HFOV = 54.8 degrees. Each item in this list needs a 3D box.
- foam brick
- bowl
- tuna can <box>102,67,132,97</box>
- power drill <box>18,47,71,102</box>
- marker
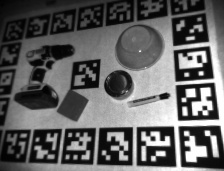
[{"bbox_3d":[-0.125,0.057,0.664,0.051,0.053,0.078,21,80,22],"label":"foam brick"},{"bbox_3d":[0.067,-0.137,0.672,0.160,0.056,0.161,-9,62,18],"label":"bowl"},{"bbox_3d":[0.015,-0.011,0.645,0.085,0.034,0.085,-5,70,14],"label":"tuna can"},{"bbox_3d":[-0.232,-0.042,0.727,0.183,0.058,0.186,-4,68,13],"label":"power drill"},{"bbox_3d":[0.097,0.034,0.610,0.120,0.020,0.019,-14,69,12],"label":"marker"}]
